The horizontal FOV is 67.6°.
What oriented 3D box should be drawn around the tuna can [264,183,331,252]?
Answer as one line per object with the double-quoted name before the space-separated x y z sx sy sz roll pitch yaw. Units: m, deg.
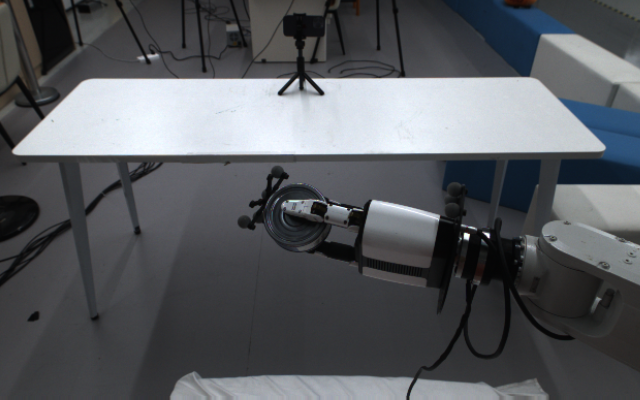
"tuna can" -0.024 0.026 0.620 0.085 0.034 0.085 -1 73 4
